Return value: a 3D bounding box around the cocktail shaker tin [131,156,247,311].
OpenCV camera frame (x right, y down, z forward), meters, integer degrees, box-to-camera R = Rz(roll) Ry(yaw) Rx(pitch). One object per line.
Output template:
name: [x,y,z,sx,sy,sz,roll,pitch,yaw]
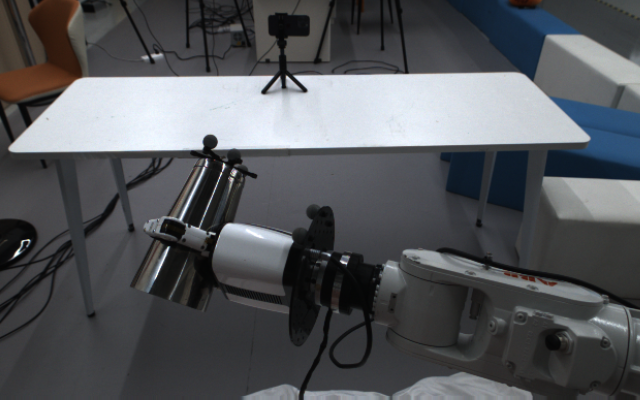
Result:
cocktail shaker tin: [-0.149,0.041,0.587,0.093,0.093,0.170,14,73,16]
